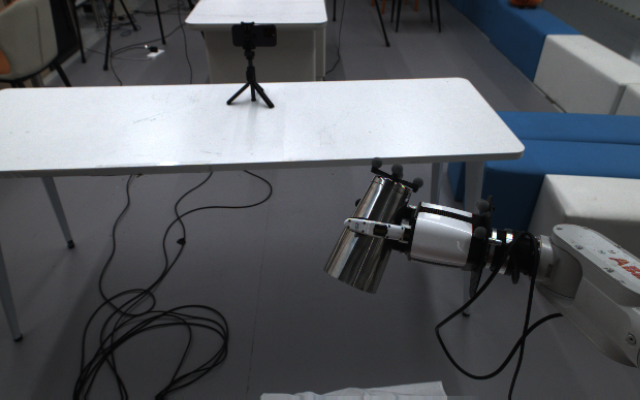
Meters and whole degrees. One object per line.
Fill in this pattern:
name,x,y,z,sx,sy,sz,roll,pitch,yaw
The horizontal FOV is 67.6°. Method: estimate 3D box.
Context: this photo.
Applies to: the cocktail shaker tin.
cocktail shaker tin,0.083,0.048,0.768,0.093,0.170,0.093,23,0,0
